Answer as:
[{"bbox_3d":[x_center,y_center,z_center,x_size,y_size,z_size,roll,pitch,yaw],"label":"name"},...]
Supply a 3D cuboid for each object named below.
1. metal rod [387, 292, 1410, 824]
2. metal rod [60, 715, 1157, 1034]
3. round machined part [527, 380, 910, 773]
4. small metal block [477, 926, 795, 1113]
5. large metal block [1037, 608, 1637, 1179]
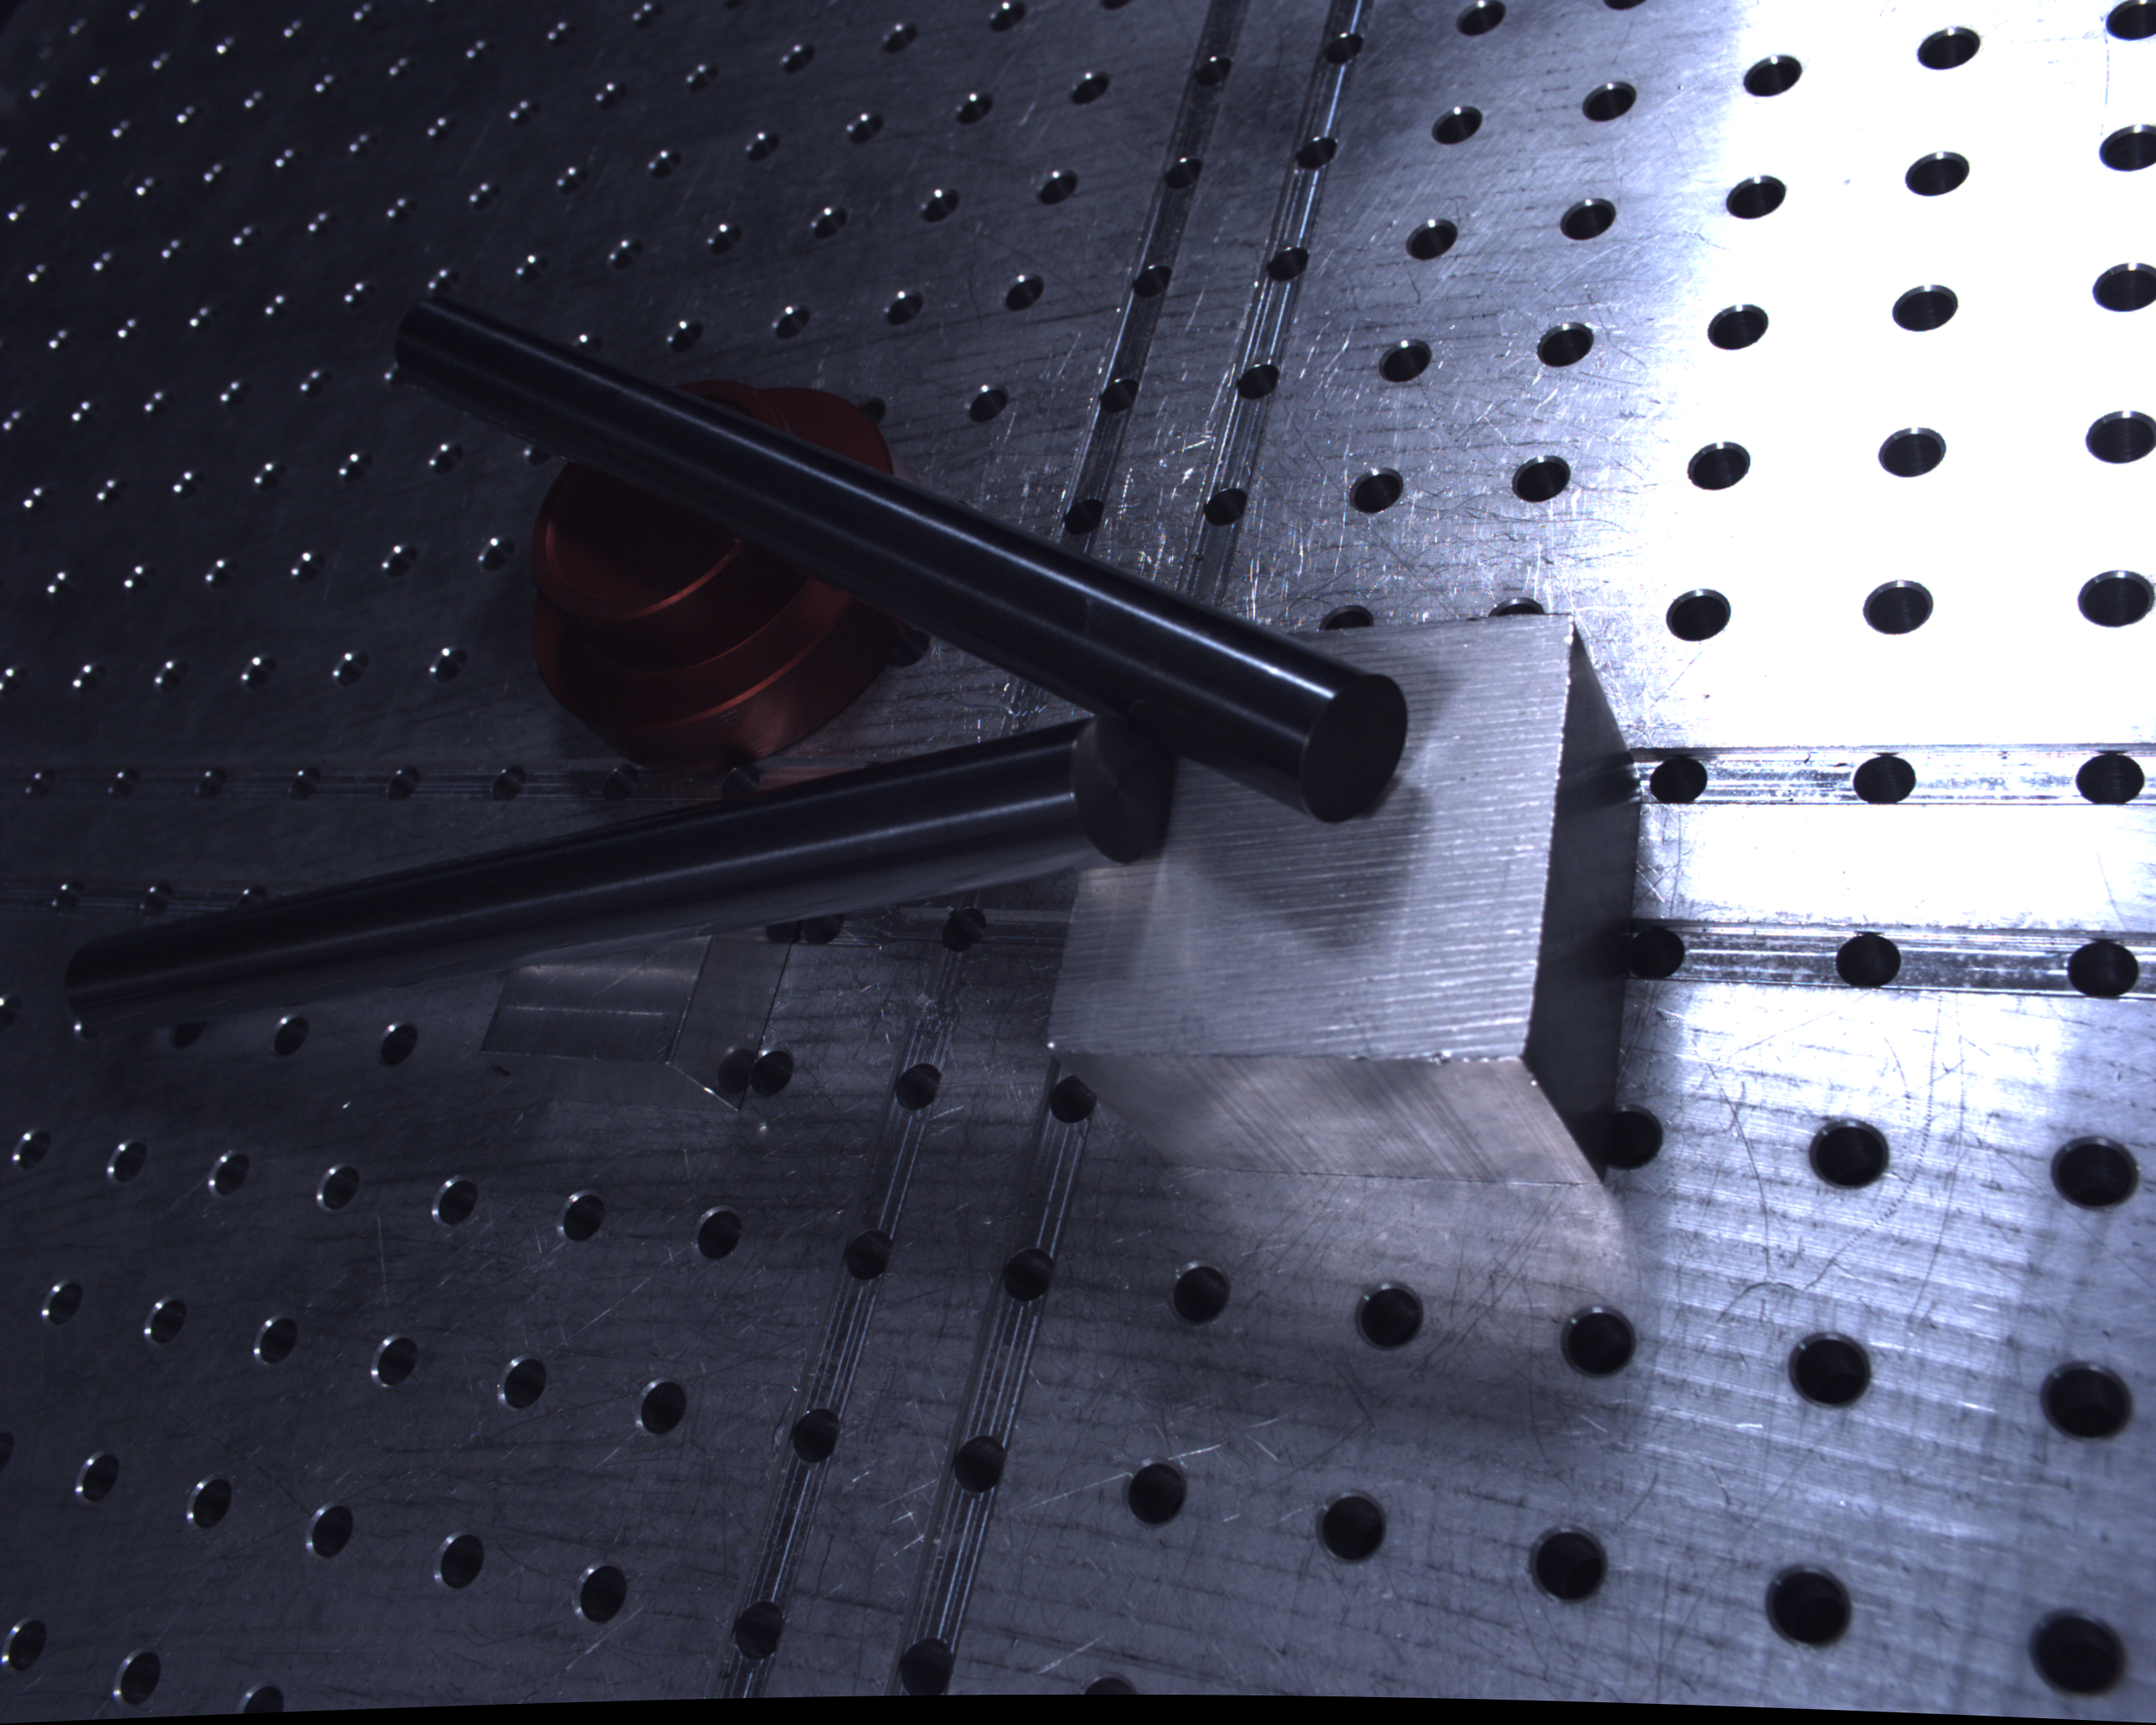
[{"bbox_3d":[-0.058,-0.073,0.420,0.300,0.025,0.025,29,77,40],"label":"metal rod"},{"bbox_3d":[-0.116,0.009,0.426,0.300,0.025,0.025,-10,57,35],"label":"metal rod"},{"bbox_3d":[-0.087,-0.073,0.485,0.098,0.042,0.098,-13,56,20],"label":"round machined part"},{"bbox_3d":[-0.092,0.024,0.440,0.050,0.025,0.050,0,62,27],"label":"small metal block"},{"bbox_3d":[0.047,0.006,0.359,0.080,0.050,0.080,-2,61,27],"label":"large metal block"}]
